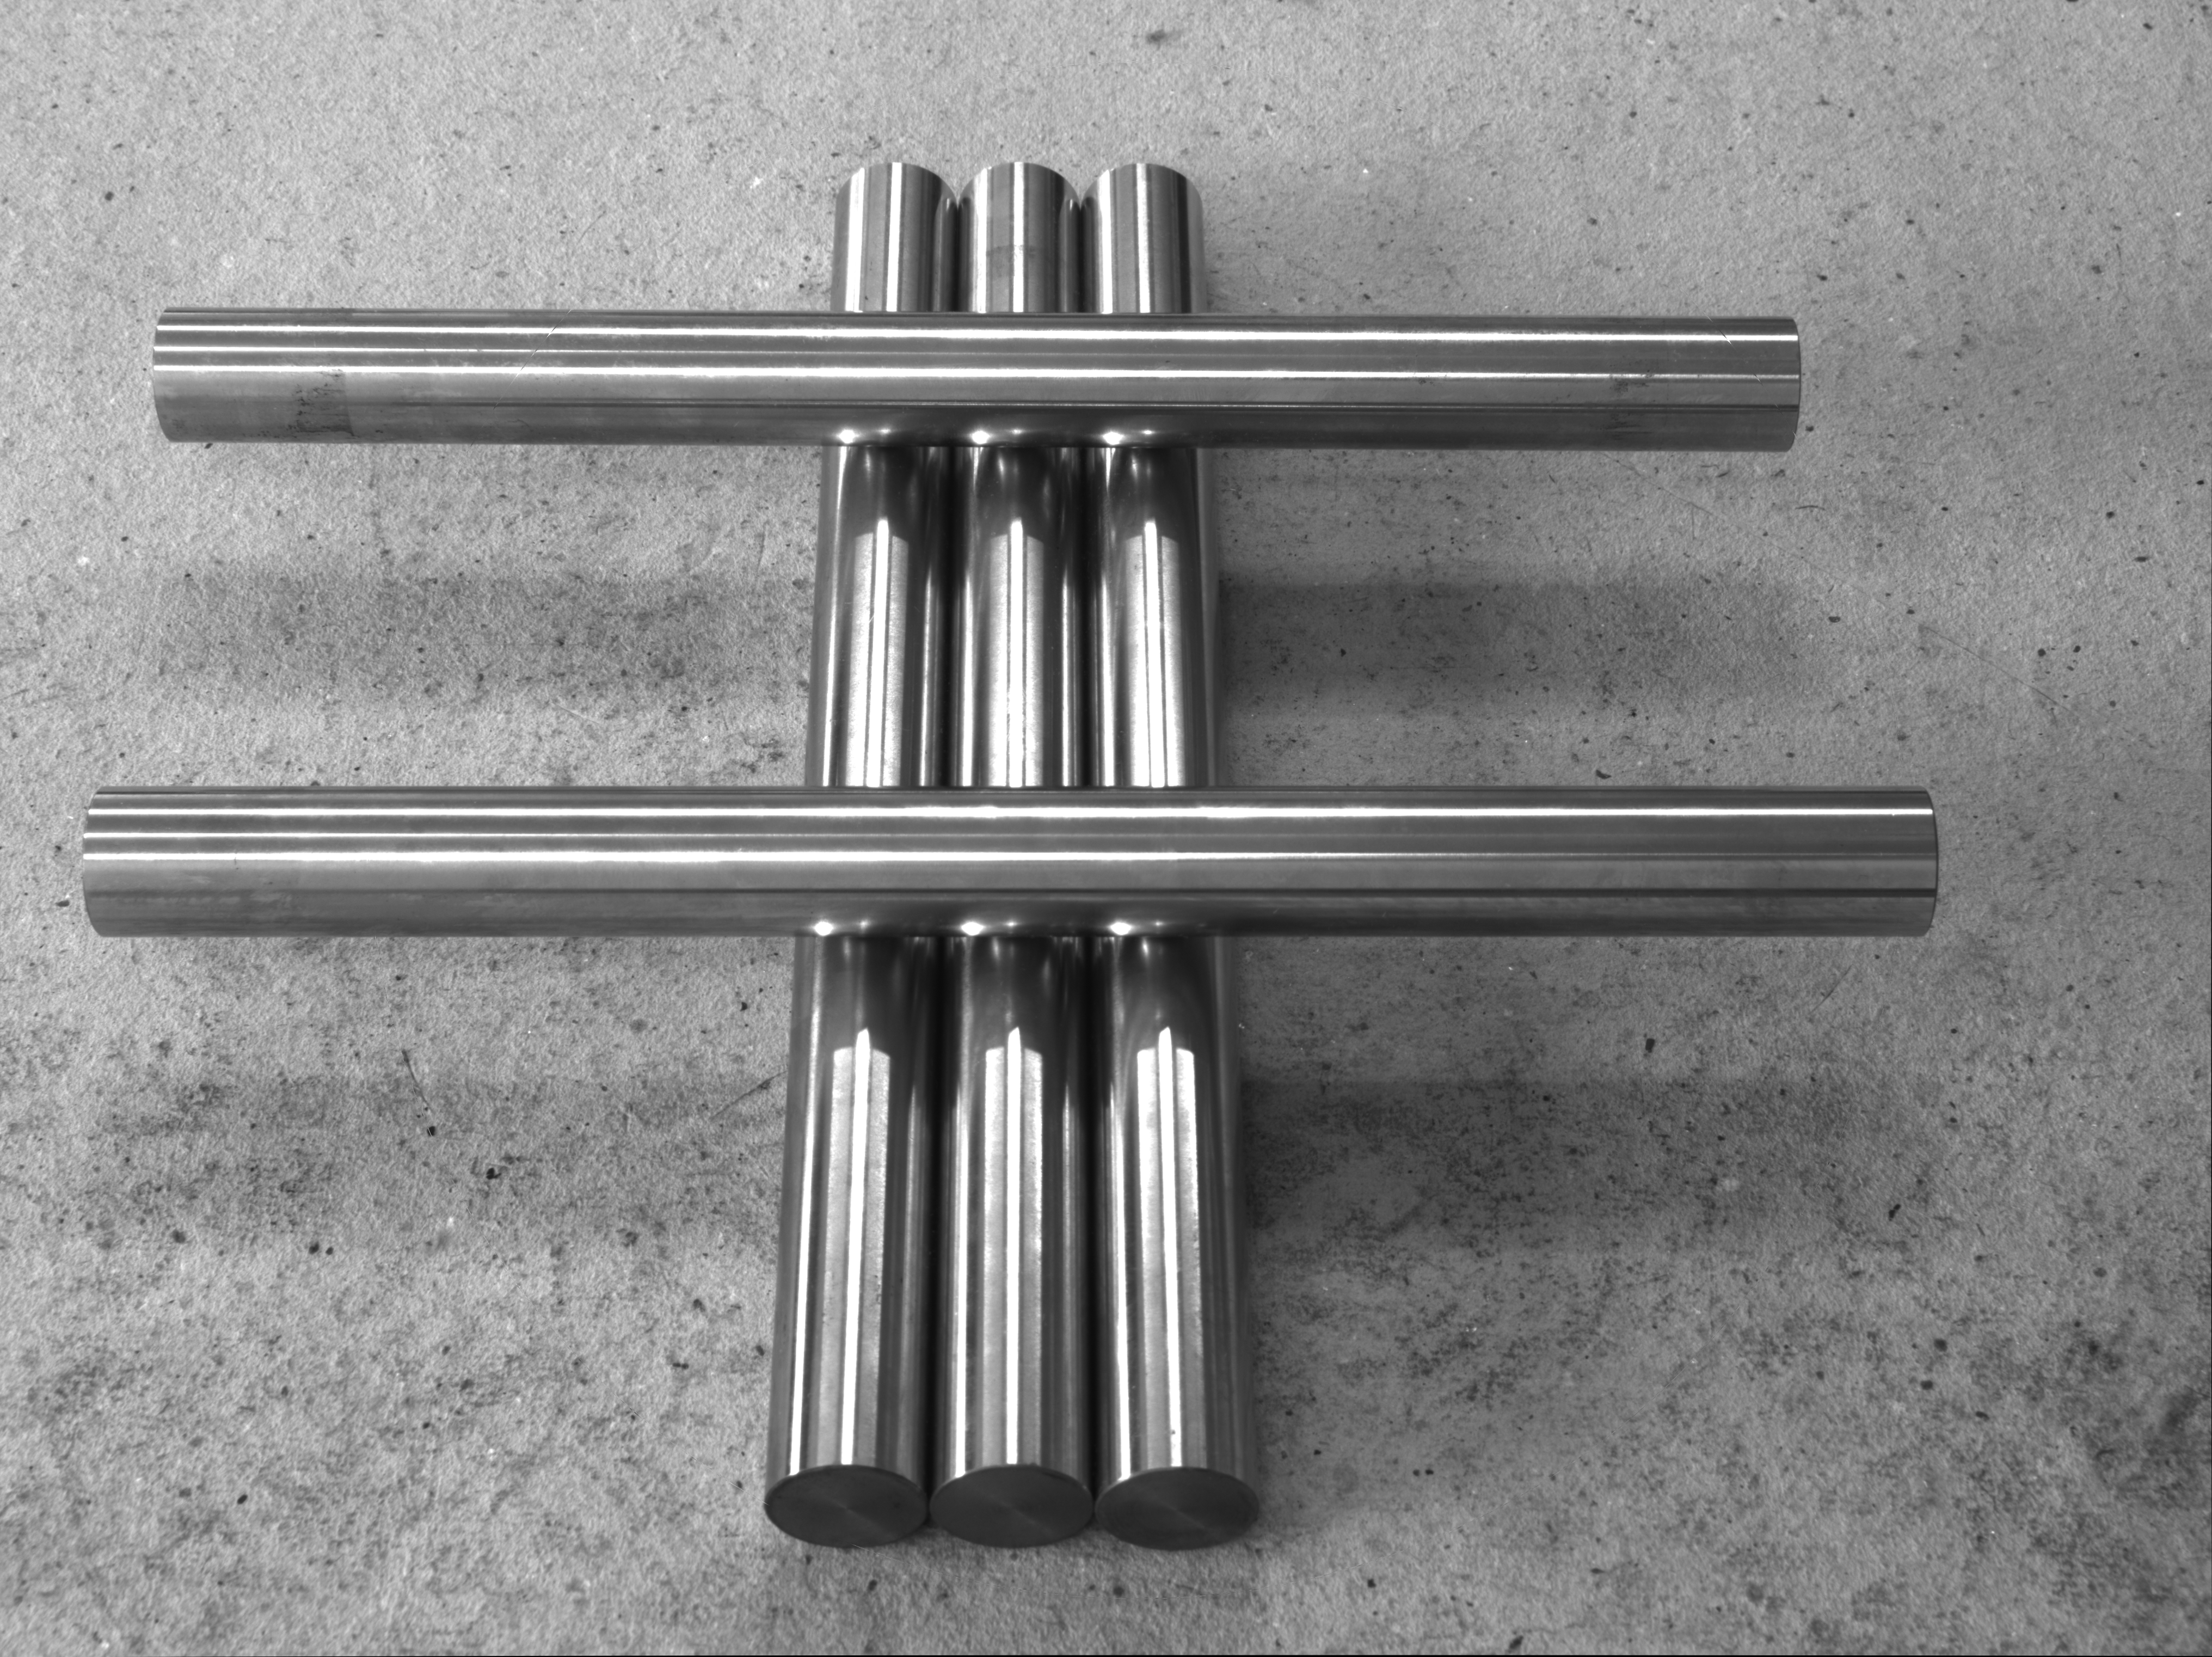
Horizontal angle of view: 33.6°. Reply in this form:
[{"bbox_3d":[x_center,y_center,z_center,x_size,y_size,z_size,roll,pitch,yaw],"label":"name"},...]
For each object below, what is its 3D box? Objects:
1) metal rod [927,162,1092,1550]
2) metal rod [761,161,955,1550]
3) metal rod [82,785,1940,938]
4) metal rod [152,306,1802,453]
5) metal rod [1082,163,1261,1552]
[{"bbox_3d":[-0.016,-0.012,0.652,0.025,0.025,0.300,-1,50,0],"label":"metal rod"},{"bbox_3d":[-0.041,-0.012,0.652,0.025,0.025,0.300,-1,50,0],"label":"metal rod"},{"bbox_3d":[-0.015,0.005,0.605,0.300,0.025,0.025,0,50,0],"label":"metal rod"},{"bbox_3d":[-0.023,-0.083,0.679,0.300,0.025,0.025,0,50,0],"label":"metal rod"},{"bbox_3d":[0.009,-0.011,0.652,0.025,0.025,0.300,-1,50,0],"label":"metal rod"}]
